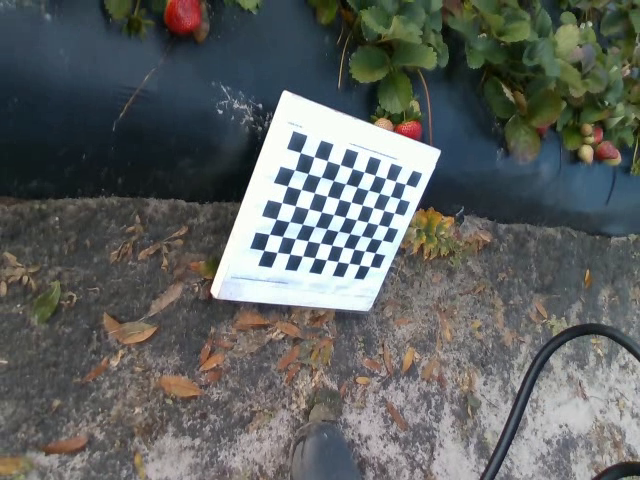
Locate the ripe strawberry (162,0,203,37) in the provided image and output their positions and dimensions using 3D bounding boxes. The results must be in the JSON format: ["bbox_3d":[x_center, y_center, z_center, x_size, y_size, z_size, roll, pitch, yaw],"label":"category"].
[{"bbox_3d":[-0.160,-0.262,0.740,0.050,0.049,0.053,1,43,-41],"label":"ripe strawberry"}]
